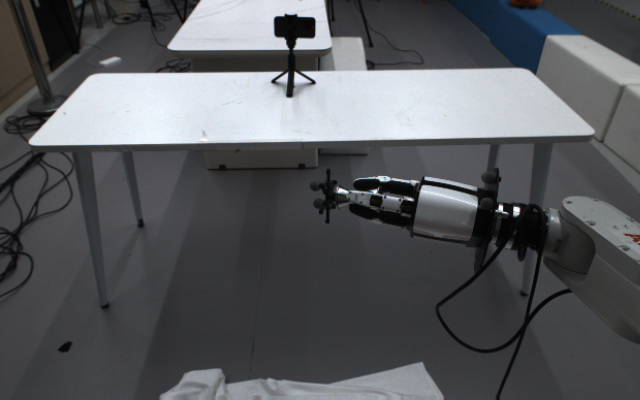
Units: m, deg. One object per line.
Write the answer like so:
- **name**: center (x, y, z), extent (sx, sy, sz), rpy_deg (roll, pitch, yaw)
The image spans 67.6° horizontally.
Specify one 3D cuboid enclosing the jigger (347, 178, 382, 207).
- **jigger**: center (0.069, -0.008, 0.766), extent (0.071, 0.043, 0.043), rpy_deg (2, 34, 17)
